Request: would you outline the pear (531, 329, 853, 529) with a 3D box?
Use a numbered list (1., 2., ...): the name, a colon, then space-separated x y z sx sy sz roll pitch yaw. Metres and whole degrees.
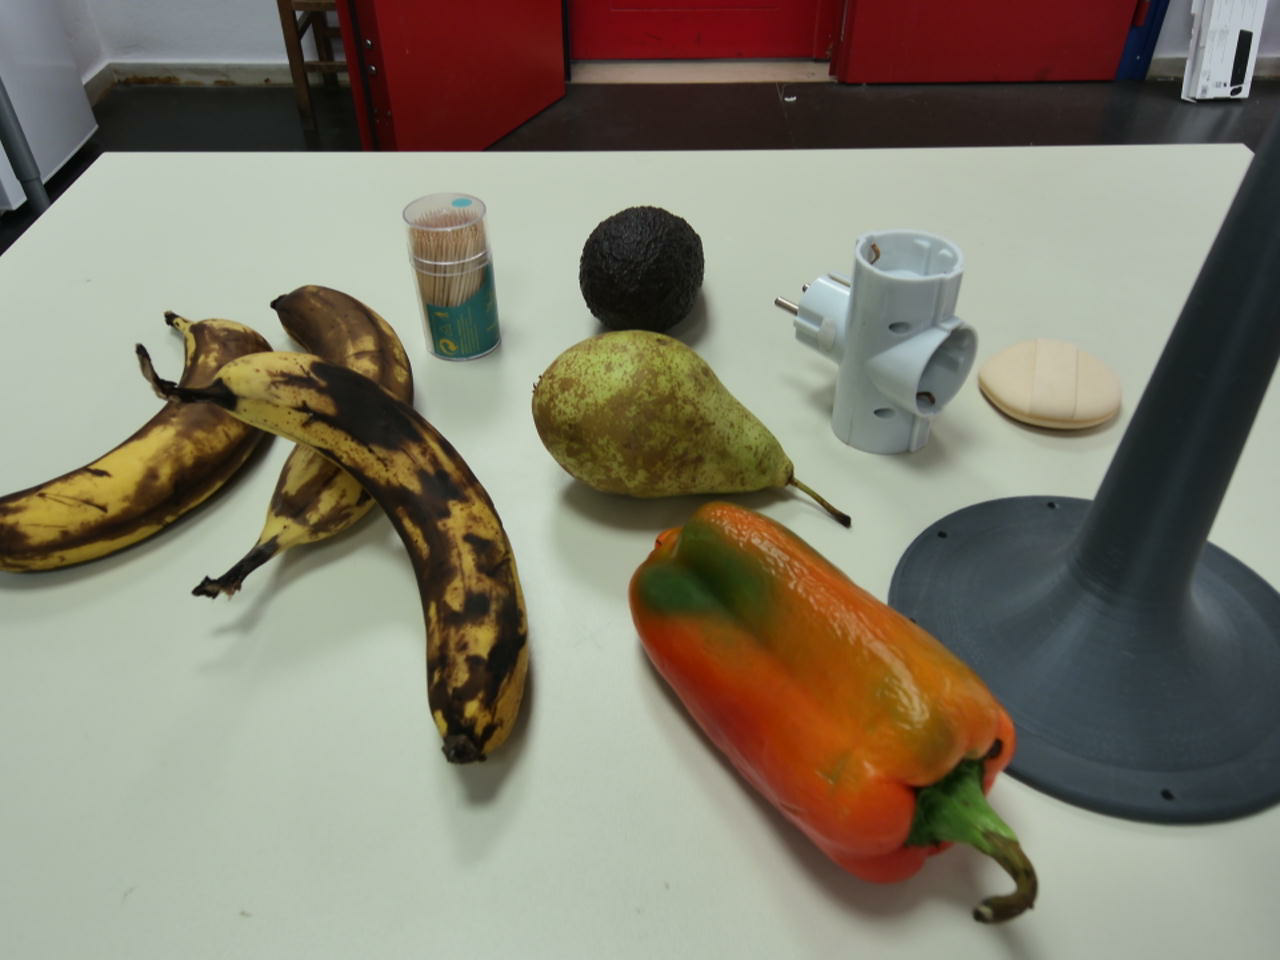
1. pear: 0.020 -0.028 0.421 0.128 0.075 0.071 -5 38 -6
